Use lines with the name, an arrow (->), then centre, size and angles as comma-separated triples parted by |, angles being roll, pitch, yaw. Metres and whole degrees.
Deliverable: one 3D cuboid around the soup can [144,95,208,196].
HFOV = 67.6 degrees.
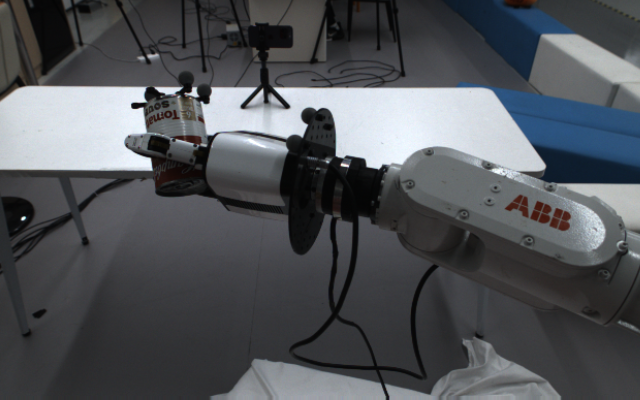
soup can -> -0.160, -0.060, 0.558 | 0.067, 0.067, 0.101 | -10, 79, -17
